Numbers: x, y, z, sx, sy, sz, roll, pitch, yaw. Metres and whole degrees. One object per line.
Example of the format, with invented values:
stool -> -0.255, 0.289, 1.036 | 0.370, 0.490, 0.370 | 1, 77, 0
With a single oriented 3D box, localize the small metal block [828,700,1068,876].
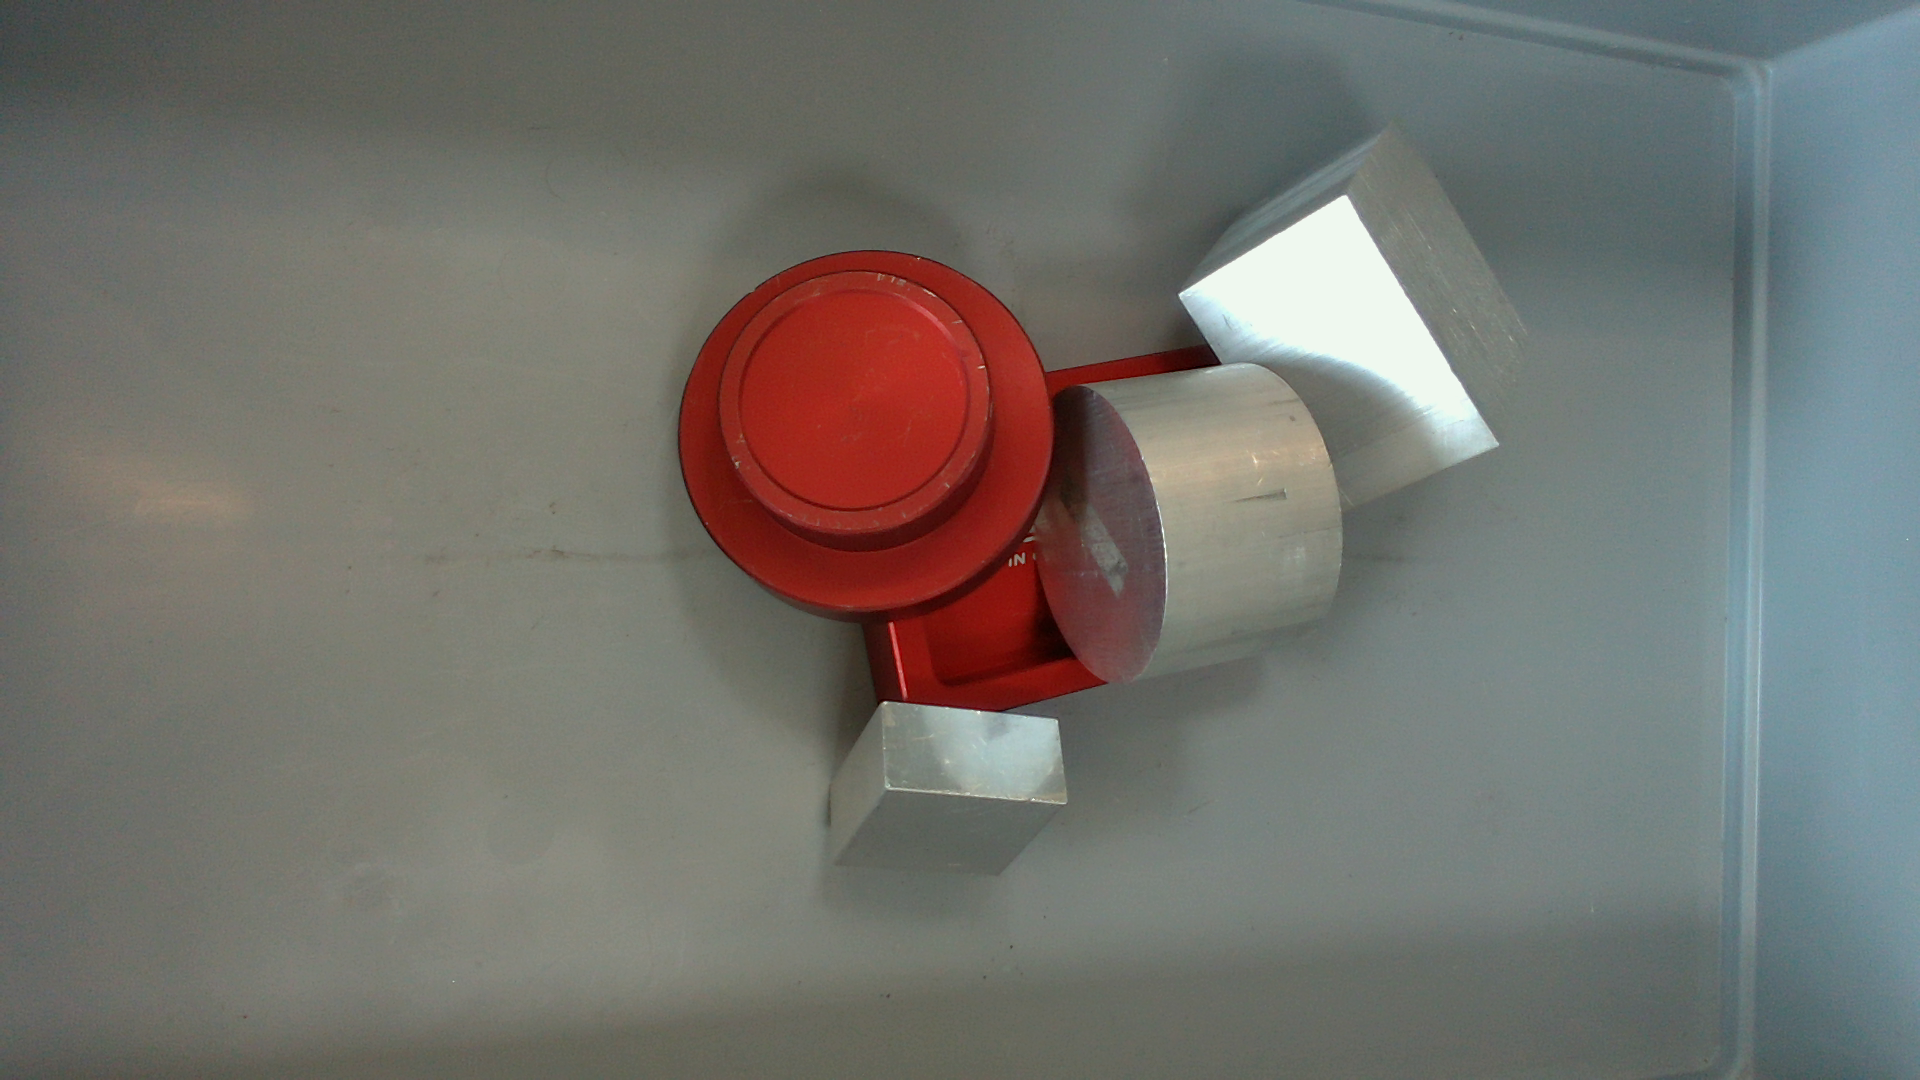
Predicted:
small metal block -> -0.005, 0.069, 0.375 | 0.050, 0.050, 0.025 | 8, 53, -19

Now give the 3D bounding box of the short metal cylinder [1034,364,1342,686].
short metal cylinder -> 0.058, -0.005, 0.371 | 0.050, 0.080, 0.080 | -10, 93, -20

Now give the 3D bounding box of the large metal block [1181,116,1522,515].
large metal block -> 0.117, -0.066, 0.401 | 0.080, 0.050, 0.080 | 54, 38, -13

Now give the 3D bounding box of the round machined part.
round machined part -> -0.025, -0.030, 0.354 | 0.098, 0.042, 0.098 | -1, 76, 4

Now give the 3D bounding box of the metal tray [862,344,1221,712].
metal tray -> 0.033, -0.004, 0.403 | 0.130, 0.030, 0.090 | -12, 94, -20
